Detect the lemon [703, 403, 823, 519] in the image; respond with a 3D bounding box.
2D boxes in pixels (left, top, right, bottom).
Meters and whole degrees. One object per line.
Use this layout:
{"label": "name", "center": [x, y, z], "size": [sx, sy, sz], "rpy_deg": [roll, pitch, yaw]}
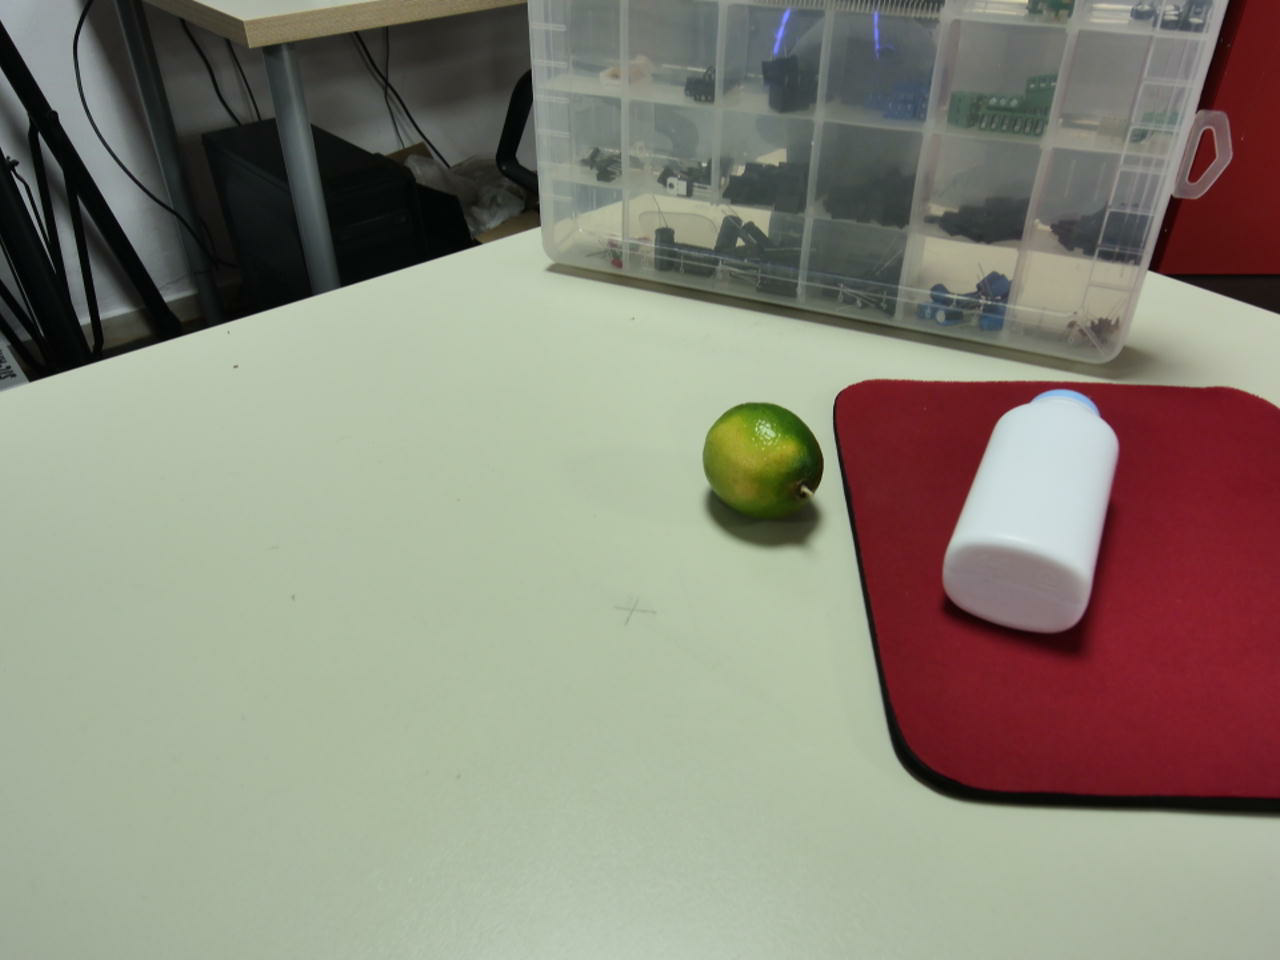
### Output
{"label": "lemon", "center": [0.055, -0.009, 0.453], "size": [0.054, 0.050, 0.055], "rpy_deg": [7, 35, 10]}
